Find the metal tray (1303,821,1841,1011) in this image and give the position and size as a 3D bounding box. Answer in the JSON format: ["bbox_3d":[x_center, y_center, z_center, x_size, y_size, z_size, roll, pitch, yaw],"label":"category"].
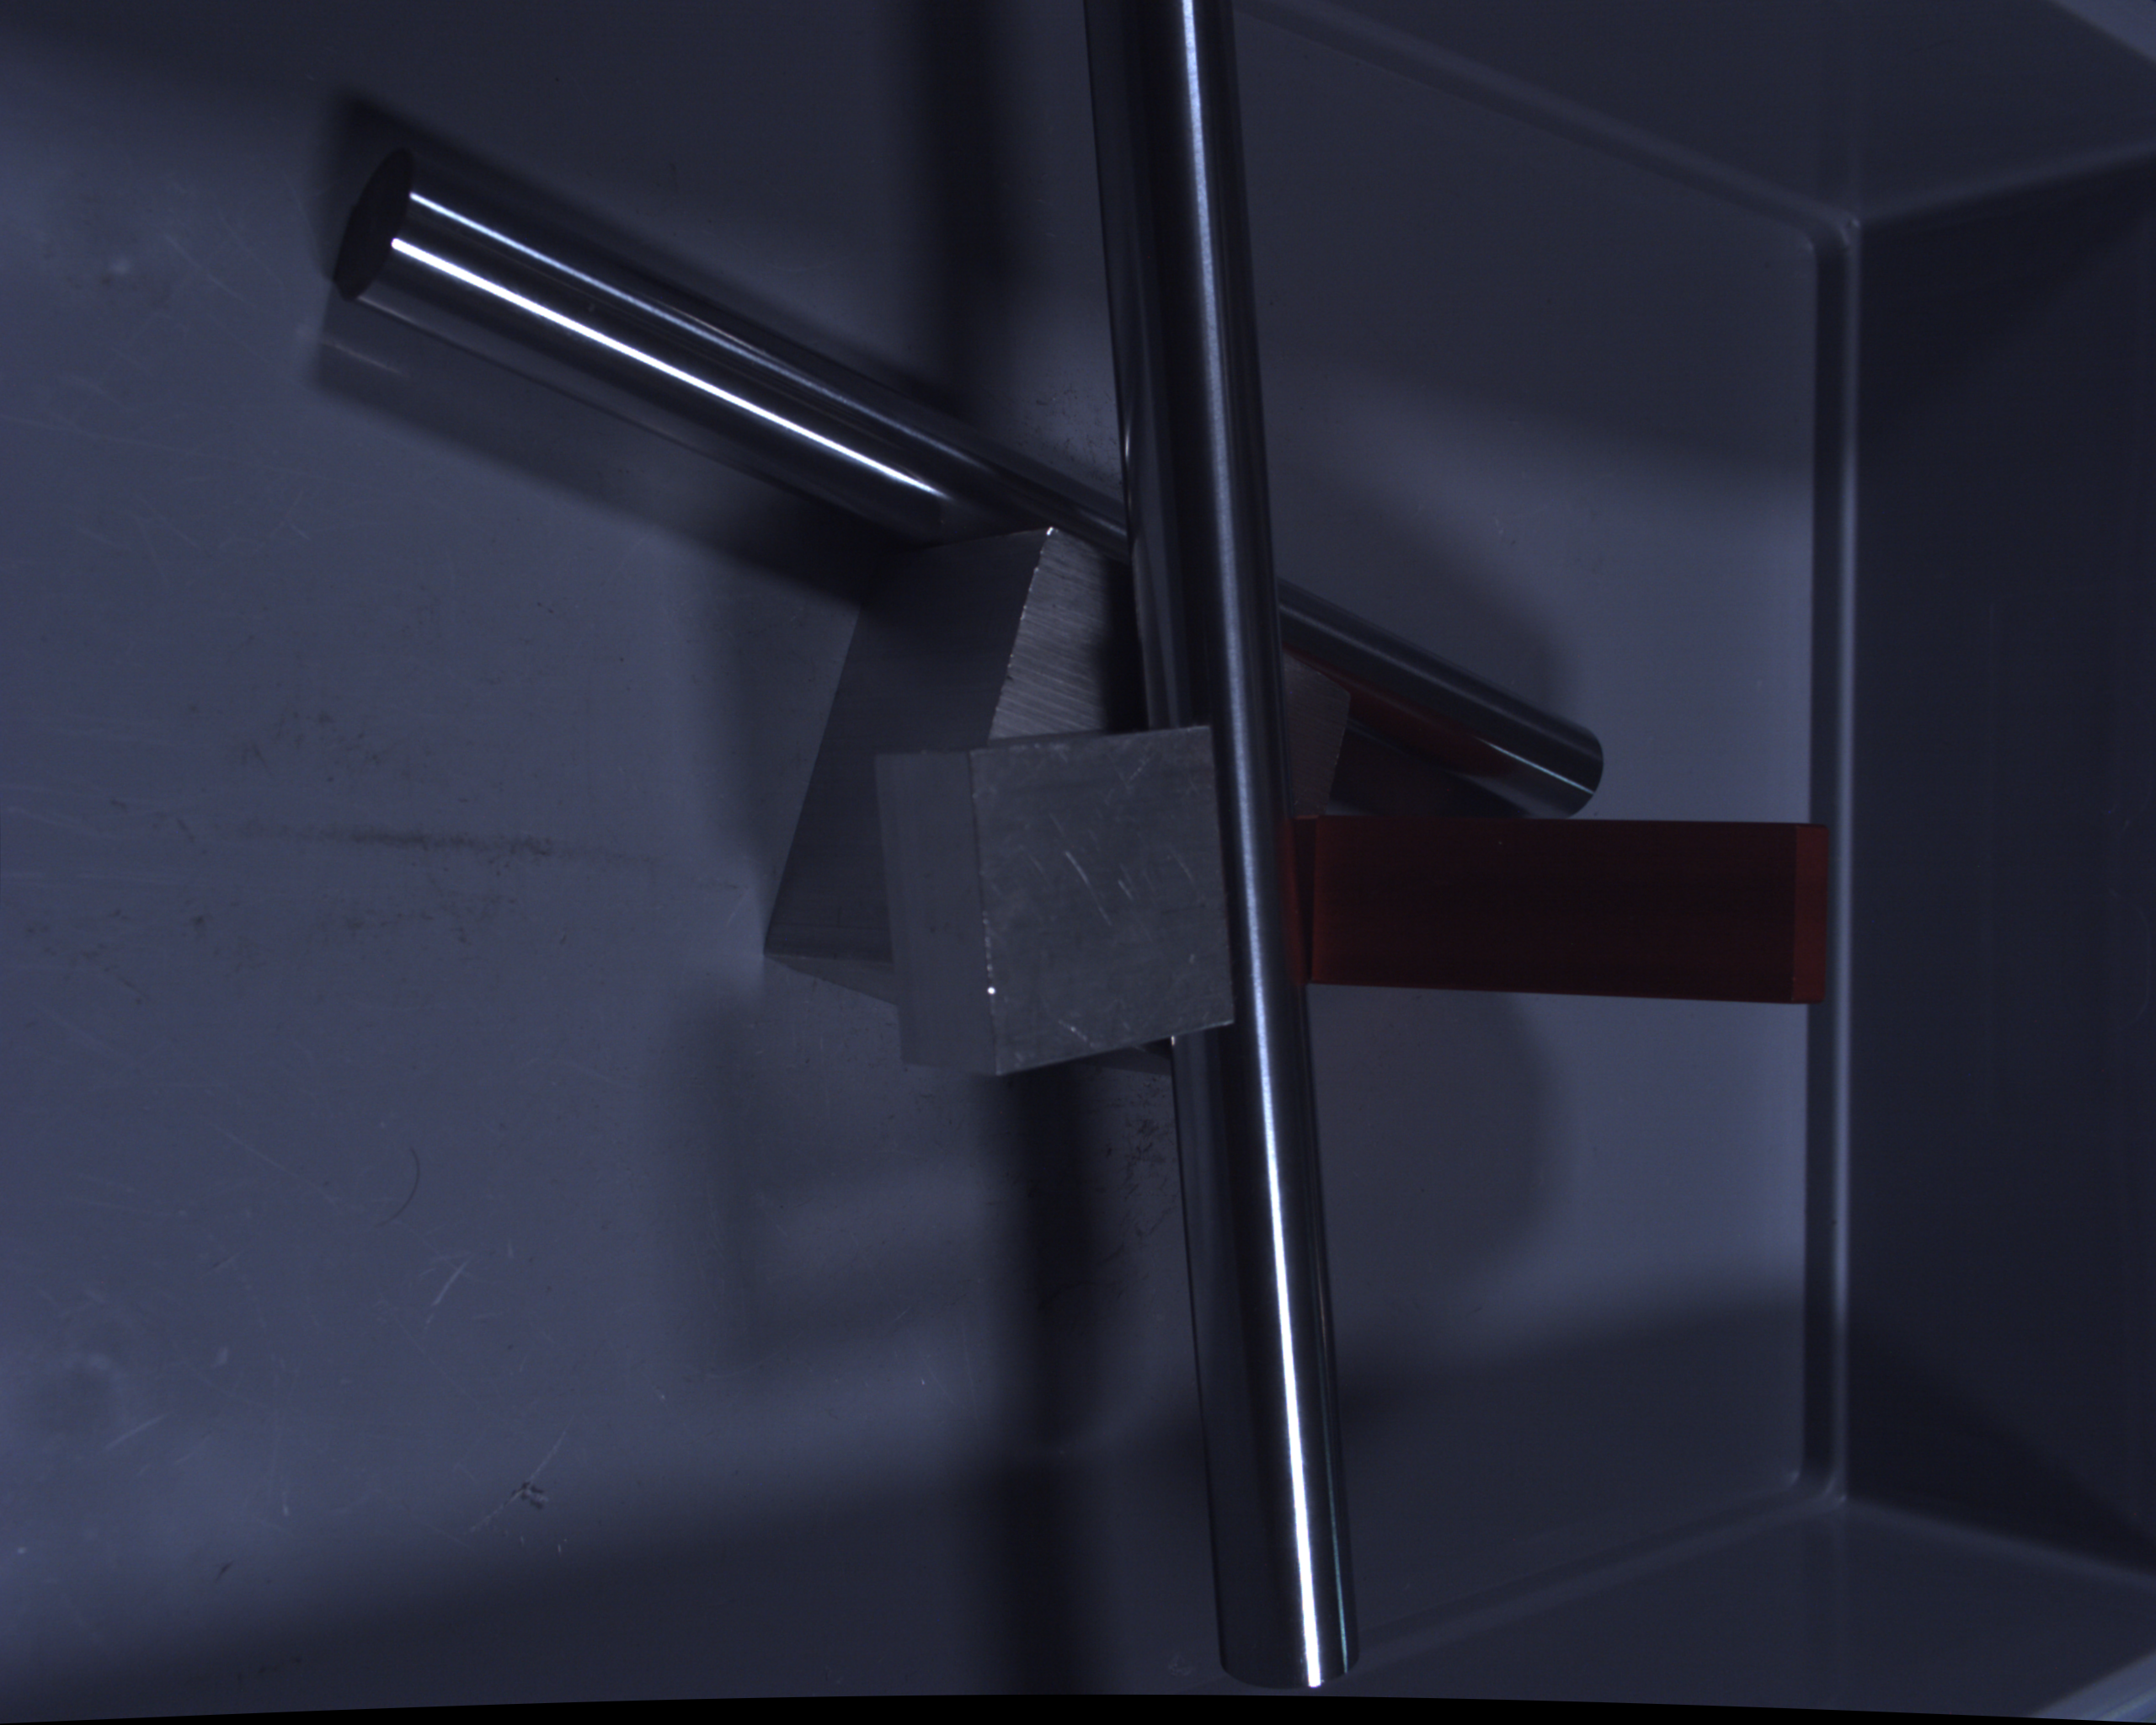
[{"bbox_3d":[0.102,0.009,0.416,0.130,0.090,0.030,1,90,-72],"label":"metal tray"}]

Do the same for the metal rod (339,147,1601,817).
[{"bbox_3d":[0.005,-0.059,0.411,0.302,0.025,0.025,19,78,-39],"label":"metal rod"}]

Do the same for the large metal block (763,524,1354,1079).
[{"bbox_3d":[-0.002,-0.008,0.389,0.080,0.050,0.080,23,76,-38],"label":"large metal block"}]

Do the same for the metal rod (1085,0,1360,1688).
[{"bbox_3d":[0.026,-0.006,0.363,0.025,0.025,0.298,-8,96,-40],"label":"metal rod"}]

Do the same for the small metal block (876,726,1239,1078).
[{"bbox_3d":[-0.003,0.005,0.339,0.050,0.025,0.050,-9,95,-40],"label":"small metal block"}]
